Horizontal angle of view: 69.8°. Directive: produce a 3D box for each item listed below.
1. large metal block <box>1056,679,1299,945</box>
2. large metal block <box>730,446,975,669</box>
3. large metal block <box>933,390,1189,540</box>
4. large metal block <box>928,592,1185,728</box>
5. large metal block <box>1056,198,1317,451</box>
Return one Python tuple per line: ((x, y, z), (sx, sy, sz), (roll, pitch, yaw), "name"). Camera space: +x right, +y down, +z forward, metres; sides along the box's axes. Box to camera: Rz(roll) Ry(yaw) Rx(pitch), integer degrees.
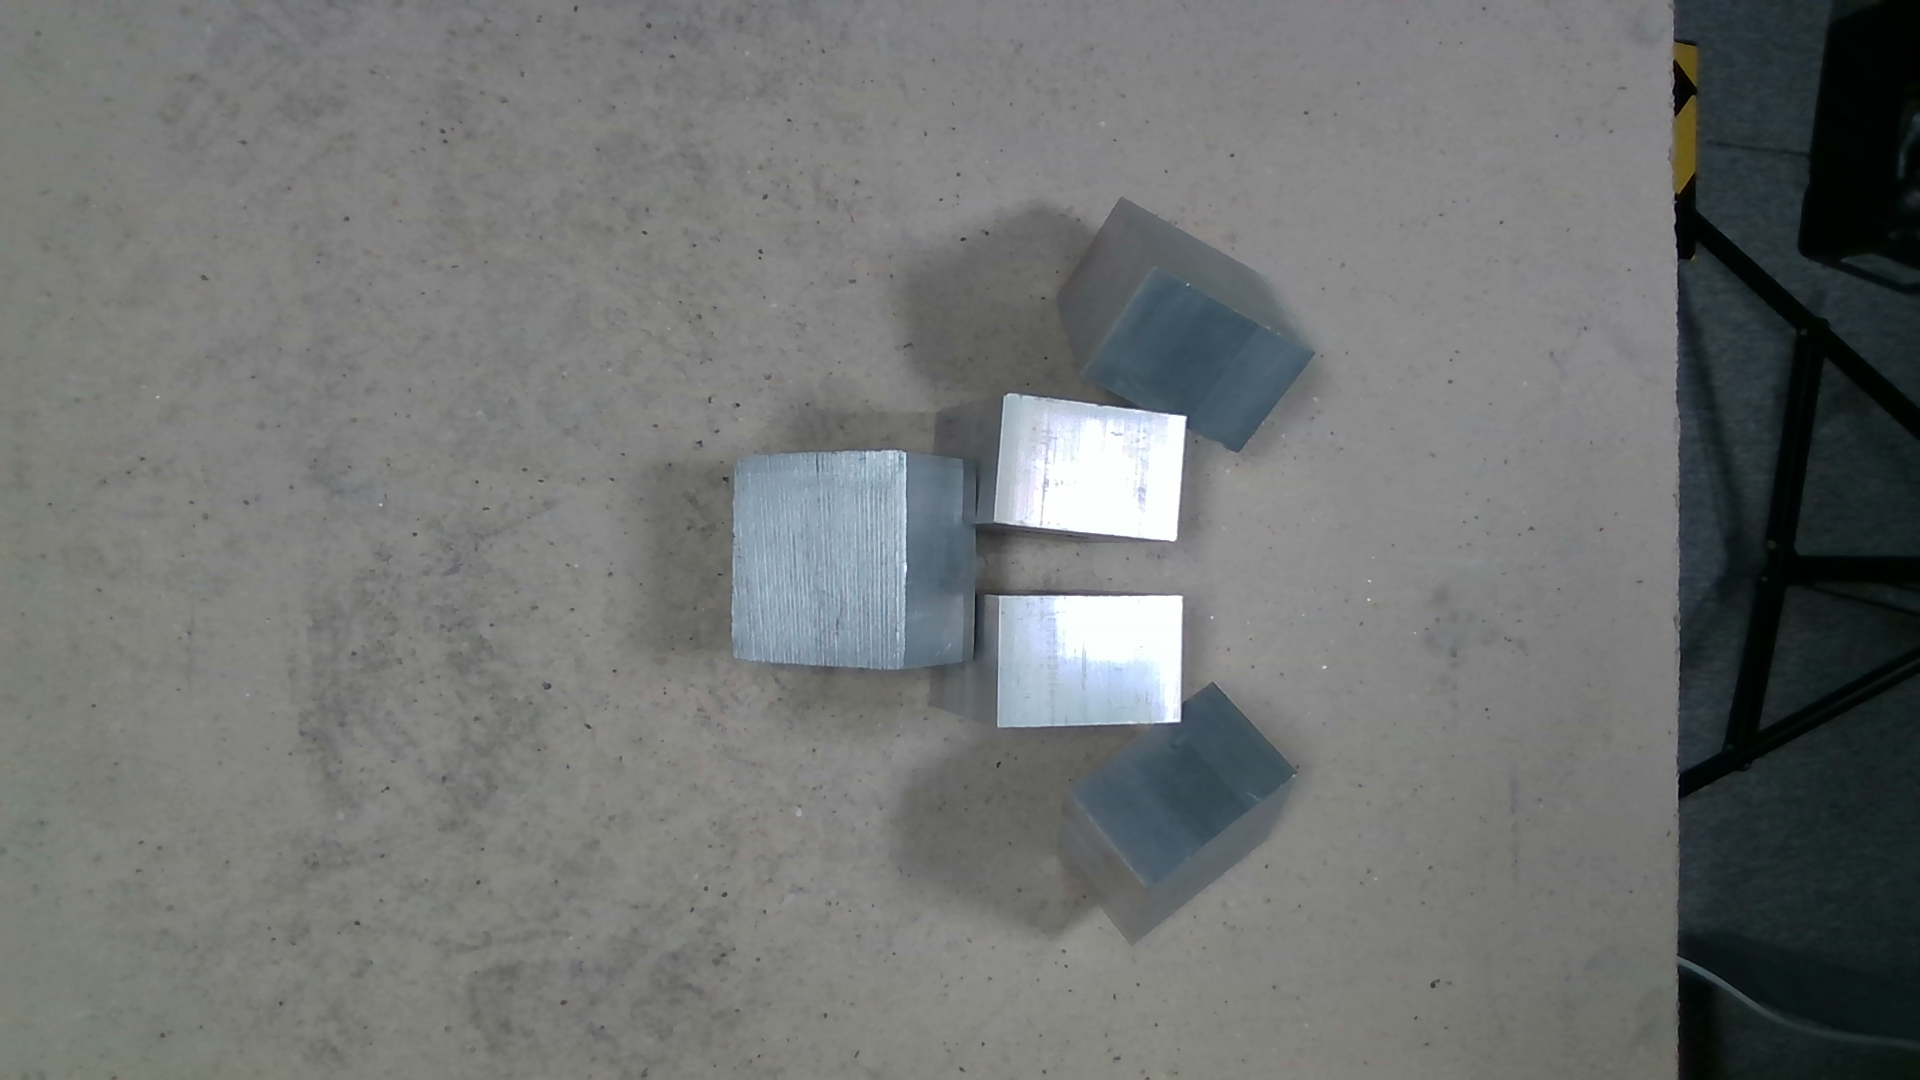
((0.089, 0.117, 0.584), (0.080, 0.080, 0.050), (-33, 63, -18), "large metal block")
((-0.042, 0.006, 0.535), (0.050, 0.080, 0.080), (1, 89, -59), "large metal block")
((0.038, -0.028, 0.571), (0.080, 0.080, 0.050), (5, 88, -20), "large metal block")
((0.038, 0.047, 0.571), (0.080, 0.080, 0.050), (1, 90, -20), "large metal block")
((0.093, -0.092, 0.581), (0.080, 0.080, 0.050), (24, 118, -19), "large metal block")
